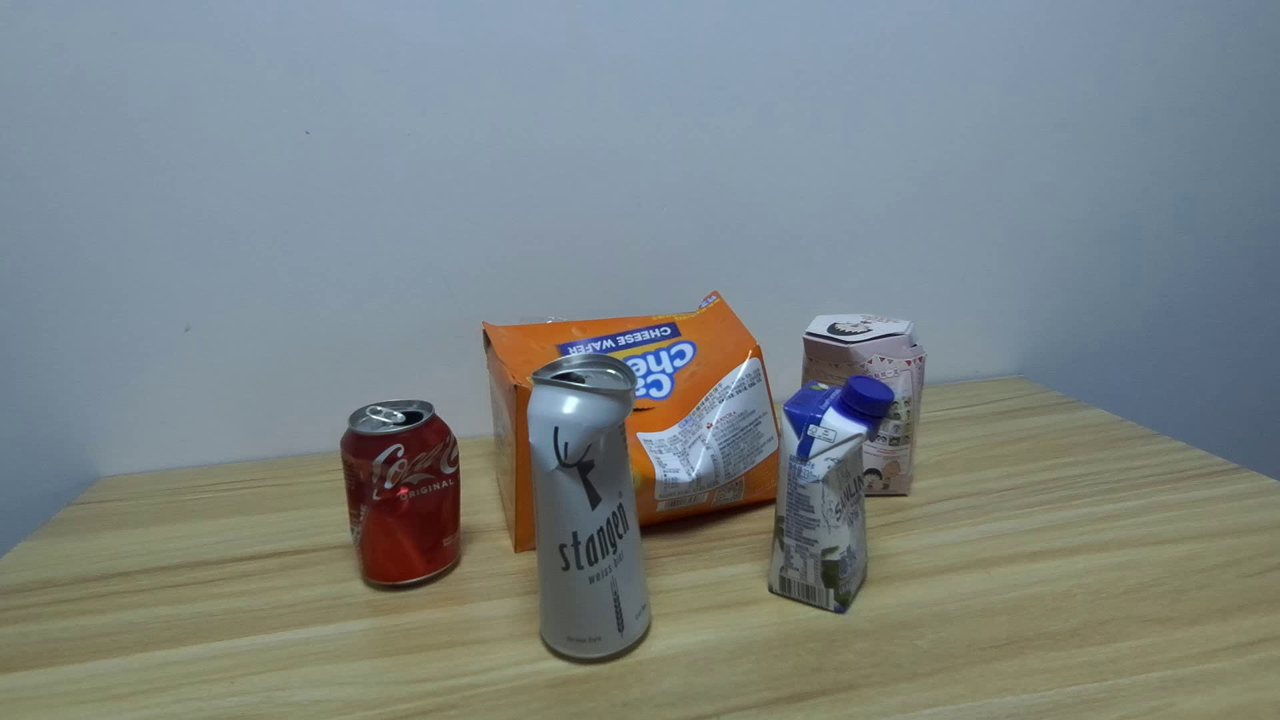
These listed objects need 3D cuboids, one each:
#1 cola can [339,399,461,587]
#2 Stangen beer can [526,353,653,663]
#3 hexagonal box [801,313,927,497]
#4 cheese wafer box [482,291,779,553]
[{"bbox_3d":[-0.160,0.088,0.472,0.065,0.117,0.067,9,19,34],"label":"cola can"},{"bbox_3d":[-0.028,0.082,0.391,0.066,0.162,0.077,-8,17,-17],"label":"Stangen beer can"},{"bbox_3d":[0.177,0.037,0.569,0.090,0.134,0.091,-4,16,8],"label":"hexagonal box"},{"bbox_3d":[-0.002,0.041,0.563,0.219,0.145,0.190,-7,17,-16],"label":"cheese wafer box"}]
